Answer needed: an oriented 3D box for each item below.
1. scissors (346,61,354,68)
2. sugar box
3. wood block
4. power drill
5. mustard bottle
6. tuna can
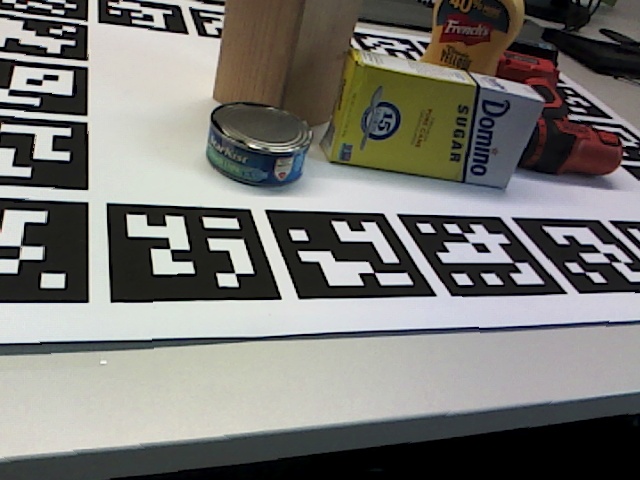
[{"bbox_3d":[0.002,-0.207,0.719,0.202,0.016,0.088,1,35,-19],"label":"scissors"},{"bbox_3d":[0.107,-0.106,0.570,0.176,0.093,0.045,9,34,-13],"label":"sugar box"},{"bbox_3d":[-0.025,-0.208,0.568,0.090,0.206,0.090,40,43,26],"label":"wood block"},{"bbox_3d":[0.212,-0.150,0.693,0.184,0.057,0.187,8,44,-10],"label":"power drill"},{"bbox_3d":[0.167,-0.228,0.678,0.096,0.191,0.058,32,40,17],"label":"mustard bottle"},{"bbox_3d":[-0.050,-0.083,0.519,0.085,0.034,0.086,11,38,-9],"label":"tuna can"}]
